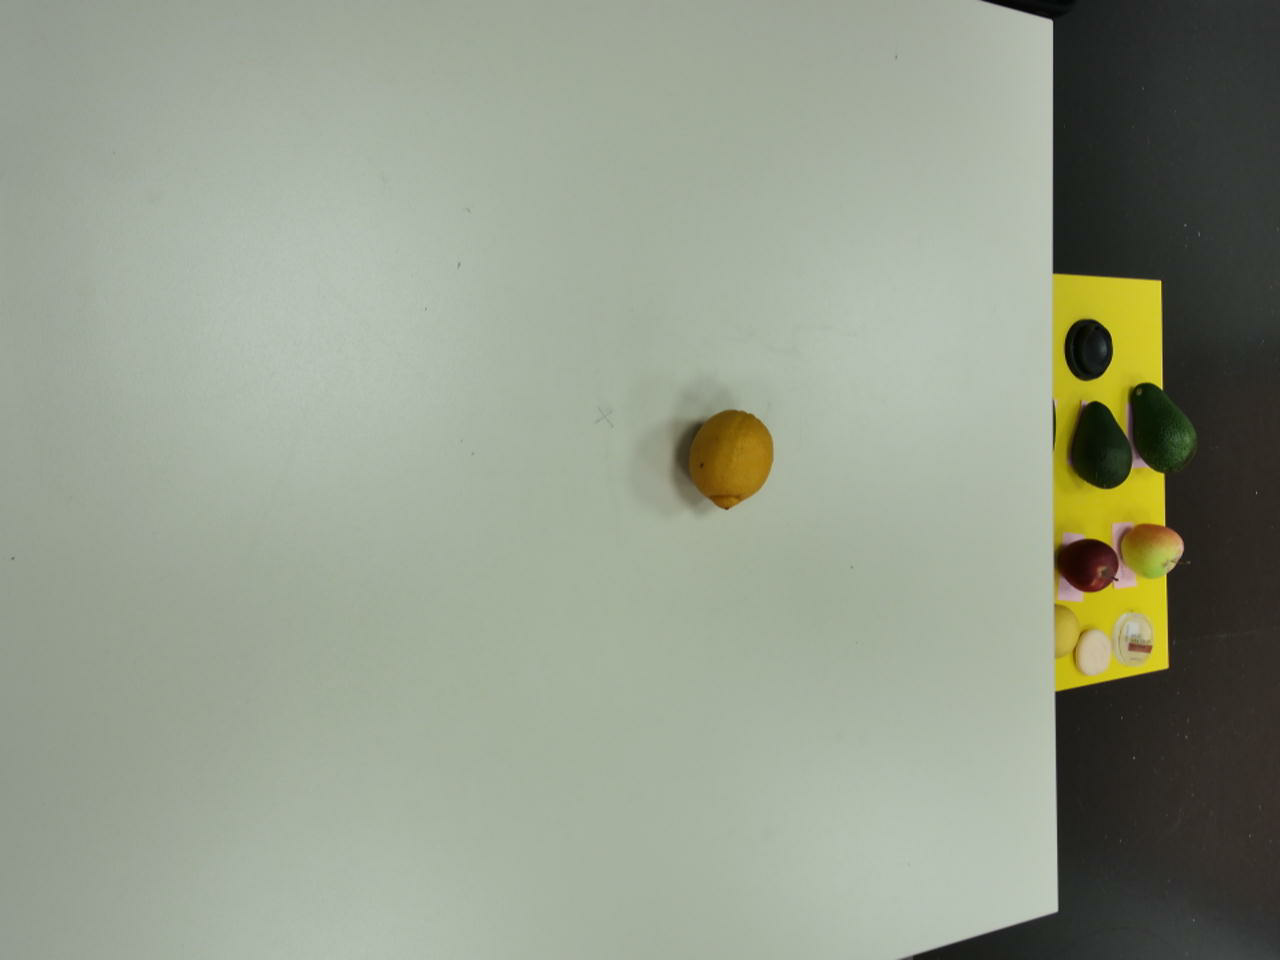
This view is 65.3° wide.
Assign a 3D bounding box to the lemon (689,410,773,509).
[{"bbox_3d":[0.065,-0.016,0.721,0.061,0.059,0.066,44,70,-21],"label":"lemon"}]
